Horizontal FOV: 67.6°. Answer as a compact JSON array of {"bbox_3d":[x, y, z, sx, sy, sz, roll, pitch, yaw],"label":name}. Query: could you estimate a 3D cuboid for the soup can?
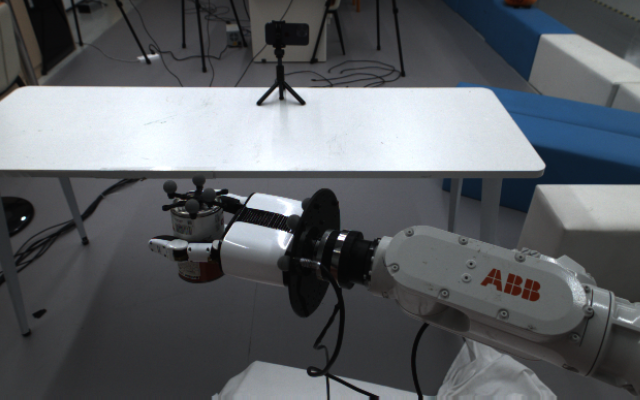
[{"bbox_3d":[-0.158,0.052,0.642,0.067,0.101,0.067,1,25,0],"label":"soup can"}]
